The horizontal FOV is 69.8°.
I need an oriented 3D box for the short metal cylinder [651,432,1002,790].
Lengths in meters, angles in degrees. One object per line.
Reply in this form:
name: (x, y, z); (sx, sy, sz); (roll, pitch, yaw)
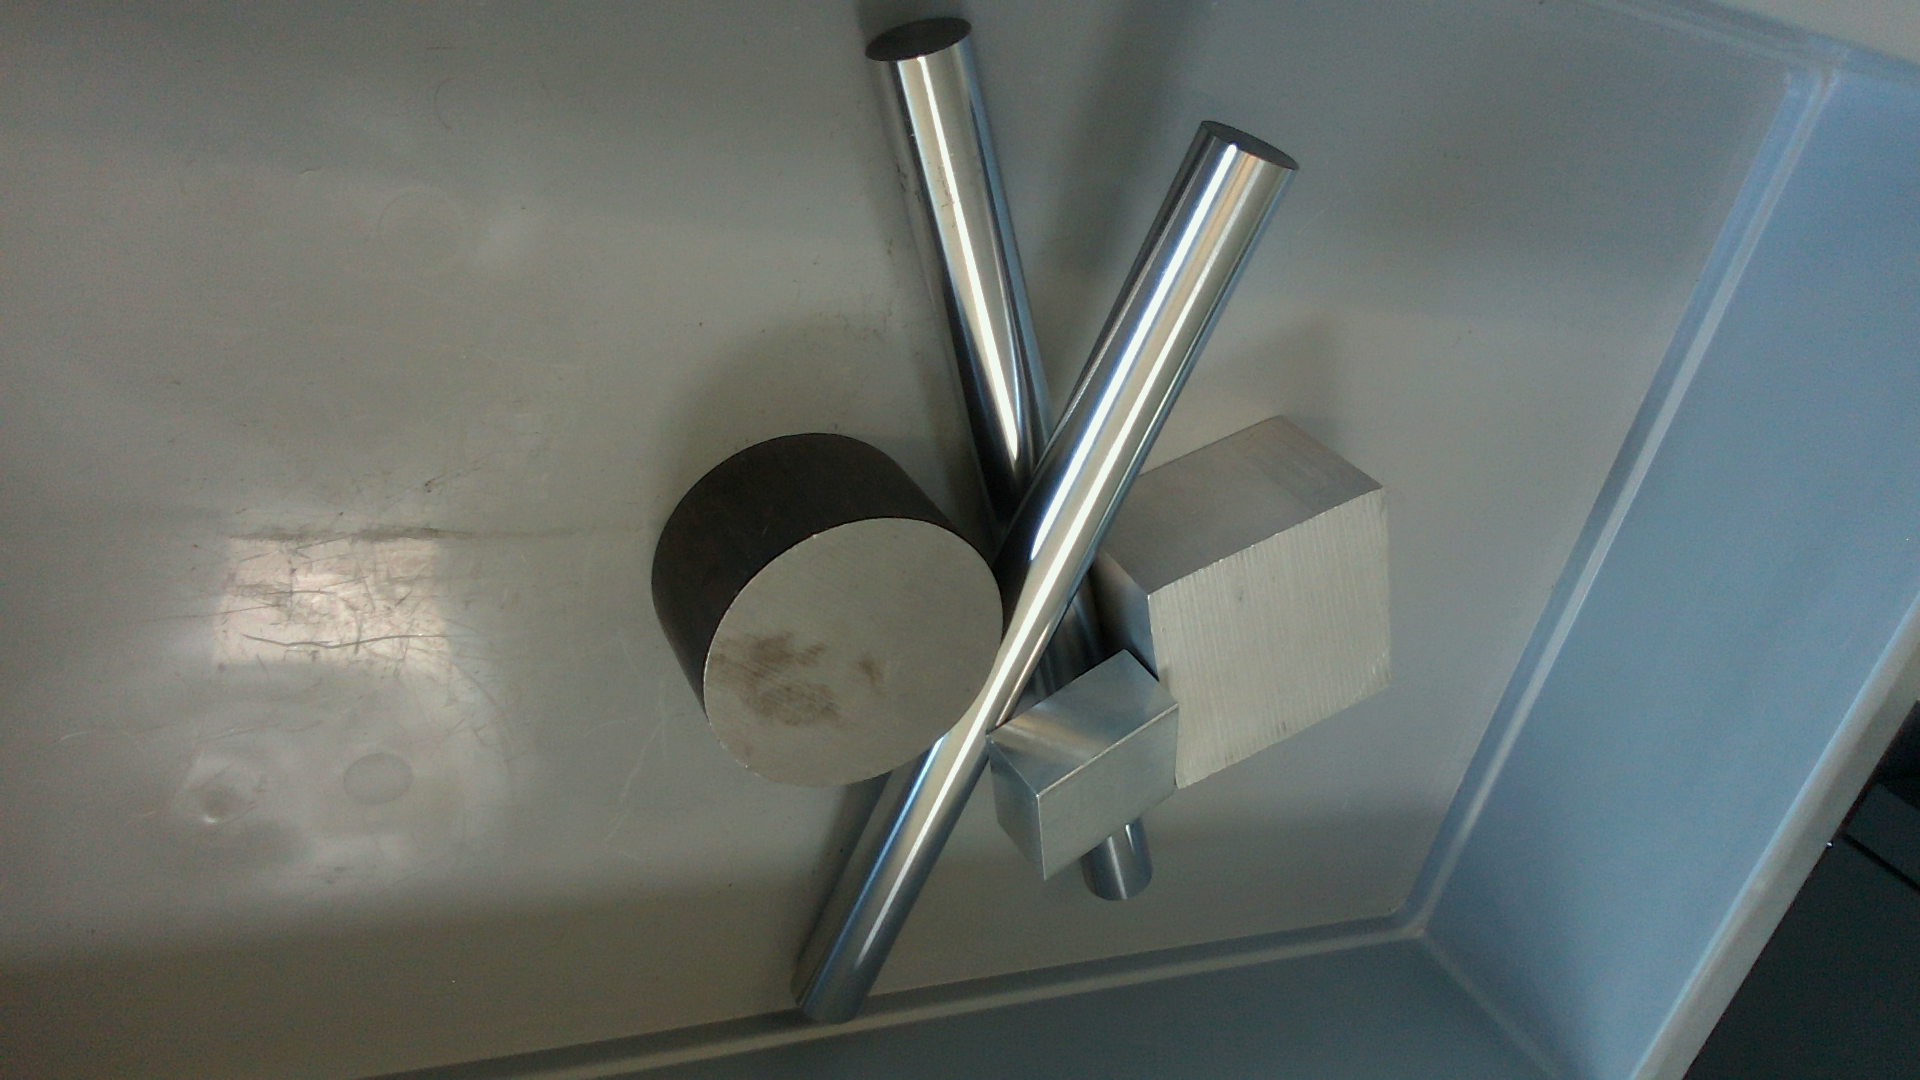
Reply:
short metal cylinder: (-0.036, 0.018, 0.364); (0.080, 0.050, 0.080); (-14, 124, -21)

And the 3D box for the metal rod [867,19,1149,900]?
metal rod: (0.023, 0.002, 0.402); (0.025, 0.025, 0.300); (-25, 128, -13)

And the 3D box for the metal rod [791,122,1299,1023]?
metal rod: (0.011, 0.029, 0.386); (0.025, 0.025, 0.300); (6, 123, -31)

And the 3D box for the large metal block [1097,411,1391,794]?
large metal block: (0.084, 0.019, 0.428); (0.080, 0.050, 0.080); (-25, 127, -13)

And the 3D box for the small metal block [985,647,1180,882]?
small metal block: (0.037, 0.067, 0.407); (0.050, 0.025, 0.050); (-30, 144, -19)
